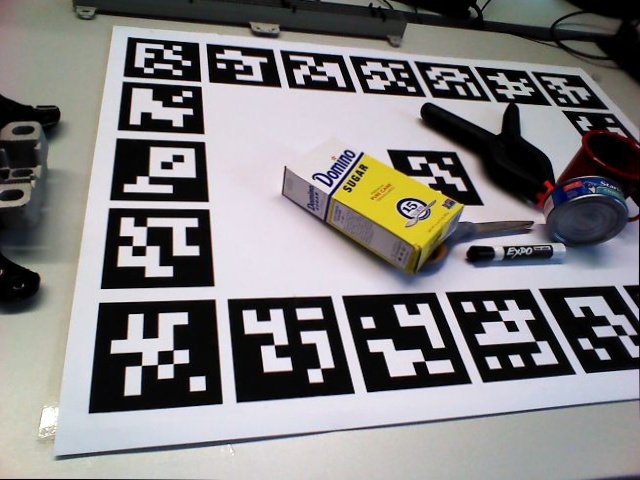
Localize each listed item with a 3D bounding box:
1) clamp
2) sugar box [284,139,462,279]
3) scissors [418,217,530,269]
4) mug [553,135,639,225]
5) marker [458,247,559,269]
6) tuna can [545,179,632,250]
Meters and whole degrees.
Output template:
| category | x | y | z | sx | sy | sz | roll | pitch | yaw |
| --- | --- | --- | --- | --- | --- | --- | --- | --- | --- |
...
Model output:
| category | x | y | z | sx | sy | sz | roll | pitch | yaw |
| --- | --- | --- | --- | --- | --- | --- | --- | --- | --- |
| clamp | 0.249 | -0.115 | 0.704 | 0.165 | 0.037 | 0.202 | -8 | 54 | -21 |
| sugar box | 0.055 | -0.041 | 0.565 | 0.177 | 0.045 | 0.092 | 37 | 51 | 25 |
| scissors | 0.159 | -0.013 | 0.588 | 0.202 | 0.016 | 0.087 | -8 | 49 | -22 |
| mug | 0.357 | -0.064 | 0.648 | 0.093 | 0.082 | 0.117 | -24 | 56 | -31 |
| marker | 0.209 | 0.020 | 0.576 | 0.121 | 0.020 | 0.019 | -3 | 52 | -16 |
| tuna can | 0.309 | -0.027 | 0.597 | 0.086 | 0.086 | 0.033 | 13 | 48 | -3 |
